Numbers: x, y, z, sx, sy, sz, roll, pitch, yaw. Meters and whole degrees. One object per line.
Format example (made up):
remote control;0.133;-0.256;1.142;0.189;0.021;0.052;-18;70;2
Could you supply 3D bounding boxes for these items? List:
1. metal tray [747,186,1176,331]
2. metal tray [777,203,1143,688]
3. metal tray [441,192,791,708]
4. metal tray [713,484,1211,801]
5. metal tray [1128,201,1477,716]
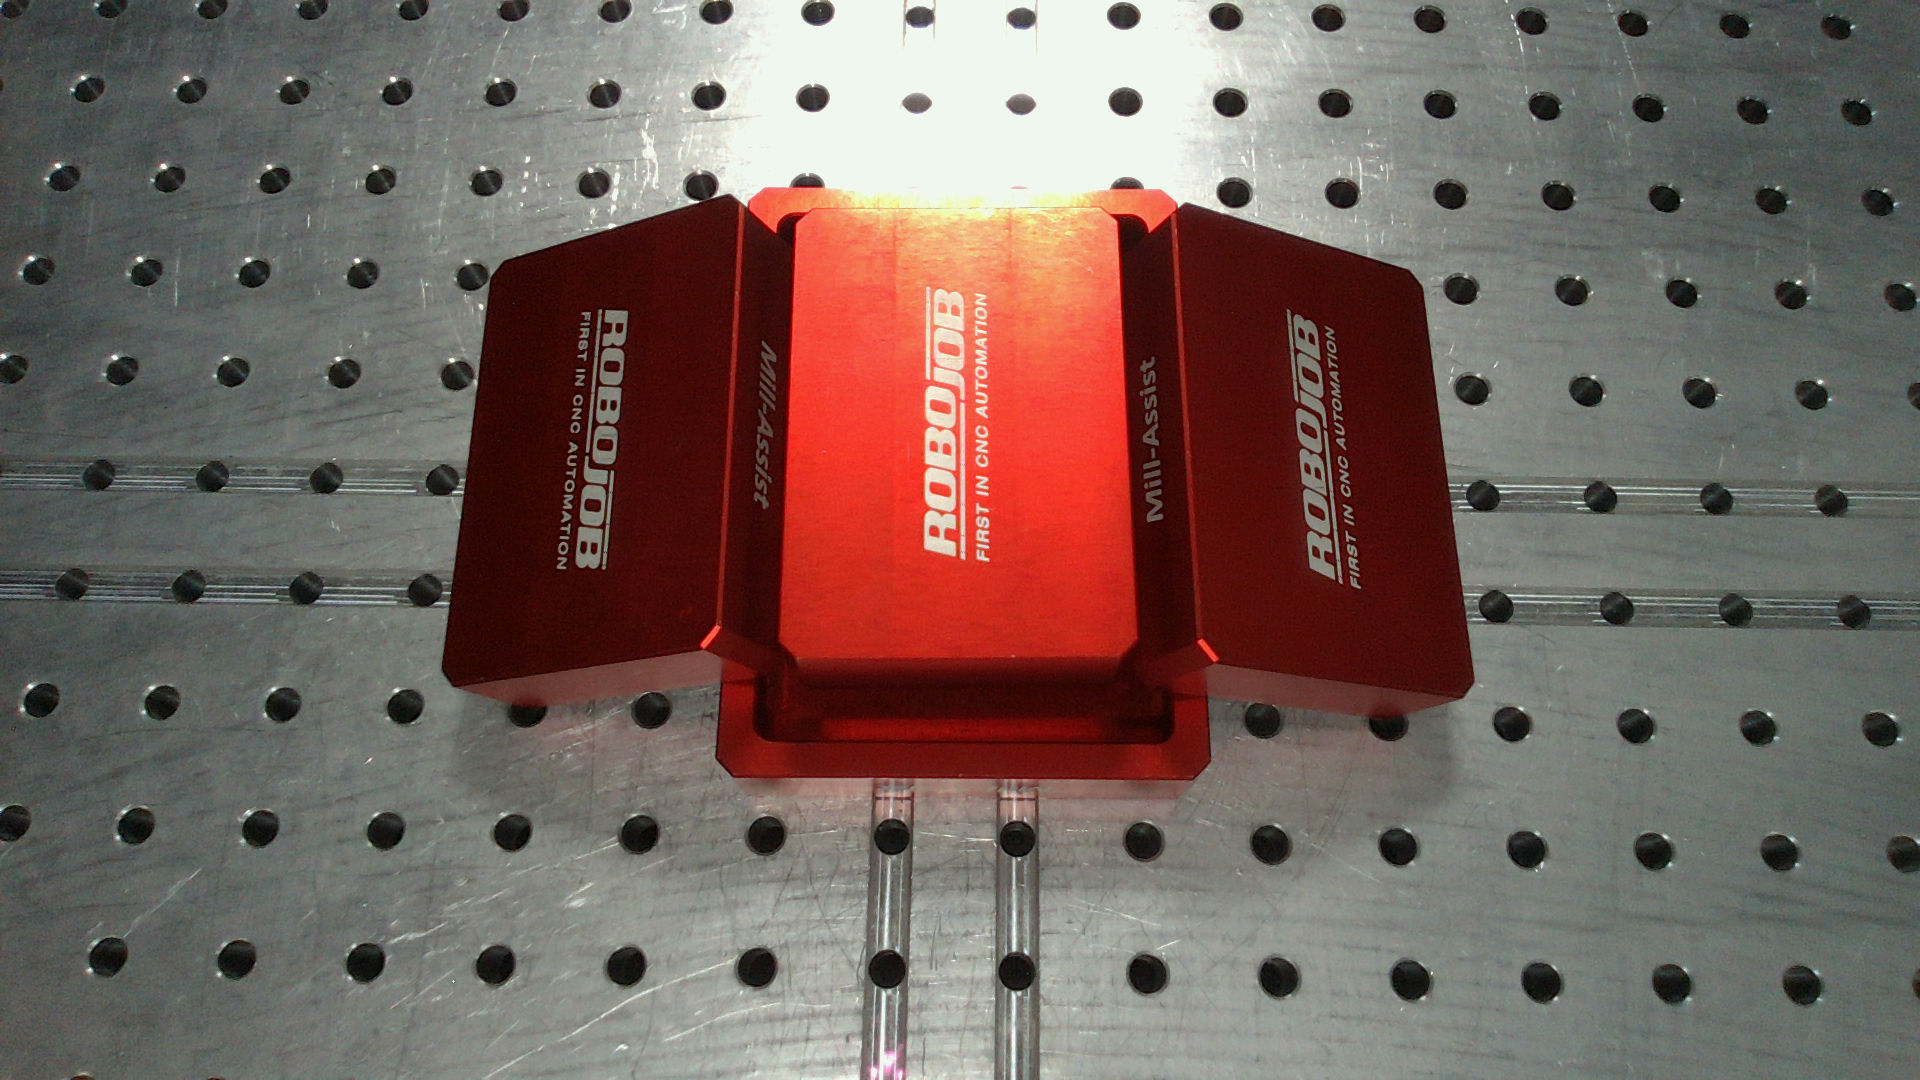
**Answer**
metal tray;0.000;-0.060;0.416;0.130;0.030;0.090;0;70;0
metal tray;0.000;-0.027;0.372;0.090;0.030;0.130;0;70;0
metal tray;-0.094;-0.024;0.384;0.090;0.030;0.130;-10;68;24
metal tray;0.001;0.025;0.386;0.130;0.030;0.090;0;70;0
metal tray;0.092;-0.021;0.382;0.090;0.030;0.130;9;68;-26
